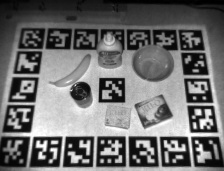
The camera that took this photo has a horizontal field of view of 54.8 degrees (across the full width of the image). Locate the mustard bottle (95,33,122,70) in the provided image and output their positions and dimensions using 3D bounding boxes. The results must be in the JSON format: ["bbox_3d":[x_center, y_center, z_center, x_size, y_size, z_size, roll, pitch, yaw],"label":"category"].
[{"bbox_3d":[-0.010,-0.124,0.778,0.096,0.192,0.058,0,67,0],"label":"mustard bottle"}]

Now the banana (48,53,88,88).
[{"bbox_3d":[-0.156,-0.054,0.844,0.073,0.039,0.198,38,73,23],"label":"banana"}]

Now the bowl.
[{"bbox_3d":[0.161,-0.080,0.851,0.161,0.055,0.161,0,69,1],"label":"bowl"}]

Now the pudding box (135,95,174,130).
[{"bbox_3d":[0.154,0.099,0.790,0.114,0.039,0.089,-23,77,-9],"label":"pudding box"}]

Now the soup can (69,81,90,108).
[{"bbox_3d":[-0.116,0.036,0.767,0.068,0.102,0.067,1,68,-1],"label":"soup can"}]

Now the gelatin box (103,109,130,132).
[{"bbox_3d":[0.017,0.127,0.783,0.089,0.030,0.073,6,73,2],"label":"gelatin box"}]
